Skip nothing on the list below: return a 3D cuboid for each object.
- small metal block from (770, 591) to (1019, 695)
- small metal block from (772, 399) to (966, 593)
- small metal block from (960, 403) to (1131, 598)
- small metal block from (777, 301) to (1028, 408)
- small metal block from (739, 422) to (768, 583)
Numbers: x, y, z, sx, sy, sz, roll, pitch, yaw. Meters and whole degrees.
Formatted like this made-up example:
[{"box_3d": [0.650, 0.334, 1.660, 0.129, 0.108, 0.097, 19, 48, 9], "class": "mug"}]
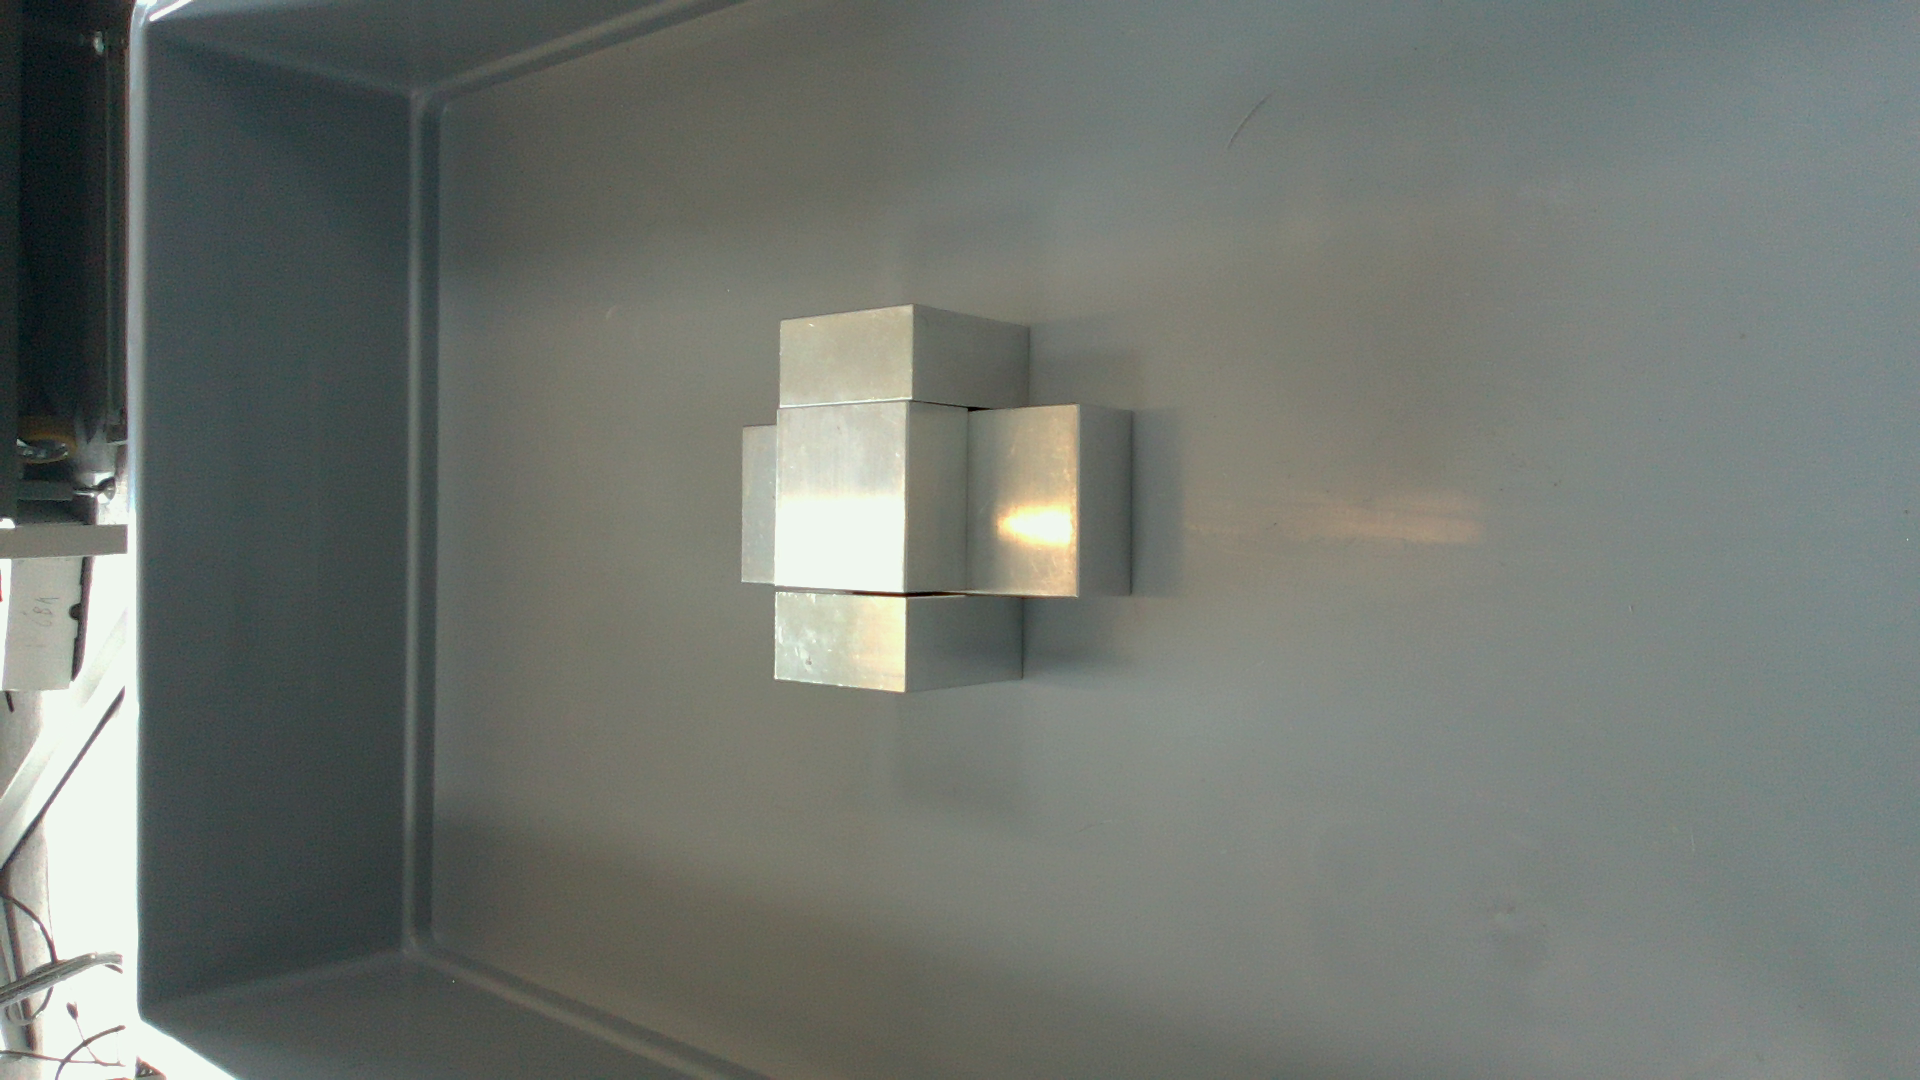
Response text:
[{"box_3d": [-0.018, 0.027, 0.390, 0.050, 0.050, 0.025, 1, 91, 40], "class": "small metal block"}, {"box_3d": [-0.026, -0.012, 0.381, 0.050, 0.025, 0.050, 1, 91, 40], "class": "small metal block"}, {"box_3d": [0.019, -0.010, 0.377, 0.050, 0.025, 0.050, 1, 91, 40], "class": "small metal block"}, {"box_3d": [-0.016, -0.049, 0.389, 0.050, 0.050, 0.025, 1, 91, 40], "class": "small metal block"}, {"box_3d": [-0.042, -0.012, 0.428, 0.050, 0.025, 0.050, 1, 91, 40], "class": "small metal block"}]
